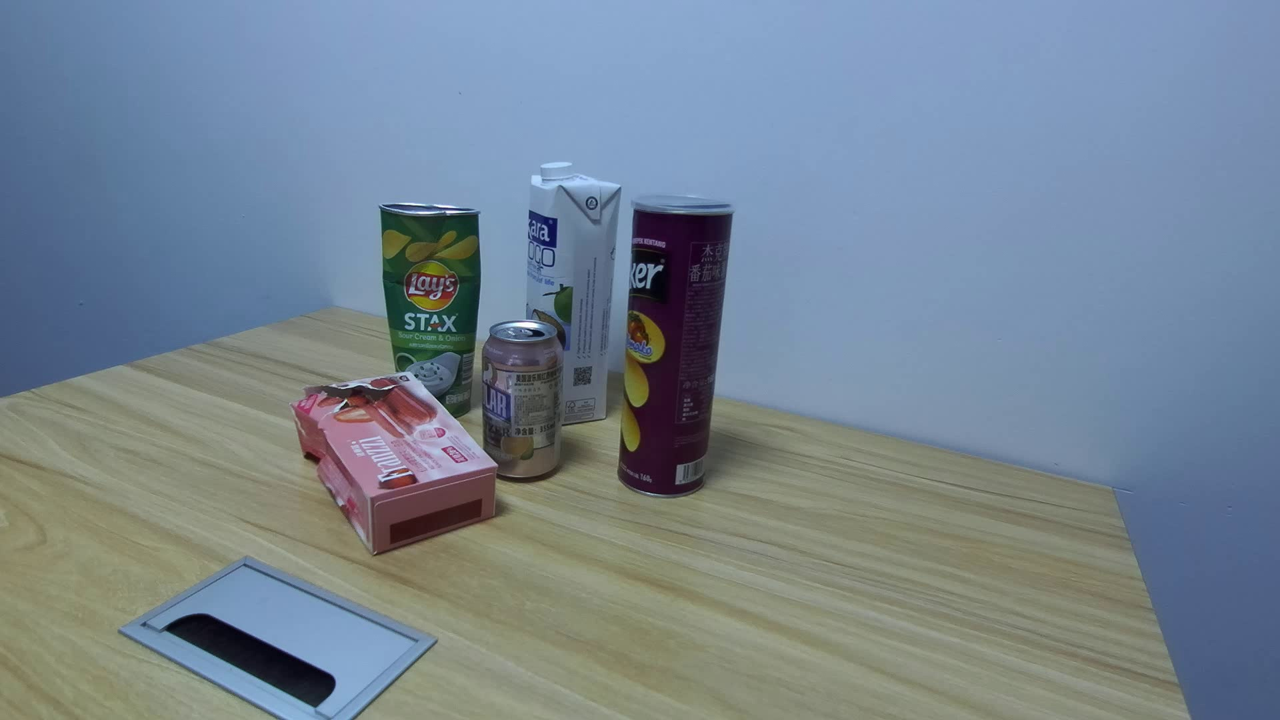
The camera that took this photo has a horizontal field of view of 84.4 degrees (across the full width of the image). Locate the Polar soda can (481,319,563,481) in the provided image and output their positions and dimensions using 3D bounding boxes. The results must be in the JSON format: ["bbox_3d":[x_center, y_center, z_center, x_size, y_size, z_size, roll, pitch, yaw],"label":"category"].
[{"bbox_3d":[-0.099,0.033,0.597,0.067,0.125,0.067,3,20,-1],"label":"Polar soda can"}]

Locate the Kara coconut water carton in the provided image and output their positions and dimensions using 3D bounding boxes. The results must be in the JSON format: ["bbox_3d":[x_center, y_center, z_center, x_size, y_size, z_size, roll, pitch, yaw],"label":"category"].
[{"bbox_3d":[-0.067,-0.063,0.682,0.075,0.245,0.076,-6,22,-27],"label":"Kara coconut water carton"}]

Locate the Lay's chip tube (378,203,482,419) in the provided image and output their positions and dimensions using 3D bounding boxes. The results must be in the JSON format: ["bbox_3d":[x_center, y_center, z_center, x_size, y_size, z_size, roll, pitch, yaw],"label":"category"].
[{"bbox_3d":[-0.199,-0.046,0.682,0.075,0.199,0.068,-12,25,-36],"label":"Lay's chip tube"}]

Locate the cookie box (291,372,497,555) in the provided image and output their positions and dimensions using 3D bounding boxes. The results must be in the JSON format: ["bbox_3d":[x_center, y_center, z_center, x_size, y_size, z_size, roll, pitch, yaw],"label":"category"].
[{"bbox_3d":[-0.198,0.072,0.566,0.105,0.059,0.185,-14,28,-36],"label":"cookie box"}]

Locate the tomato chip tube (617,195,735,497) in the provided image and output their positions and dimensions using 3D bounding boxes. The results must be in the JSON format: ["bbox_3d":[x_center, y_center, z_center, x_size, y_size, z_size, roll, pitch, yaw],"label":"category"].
[{"bbox_3d":[0.027,-0.009,0.570,0.078,0.234,0.078,3,20,-1],"label":"tomato chip tube"}]
